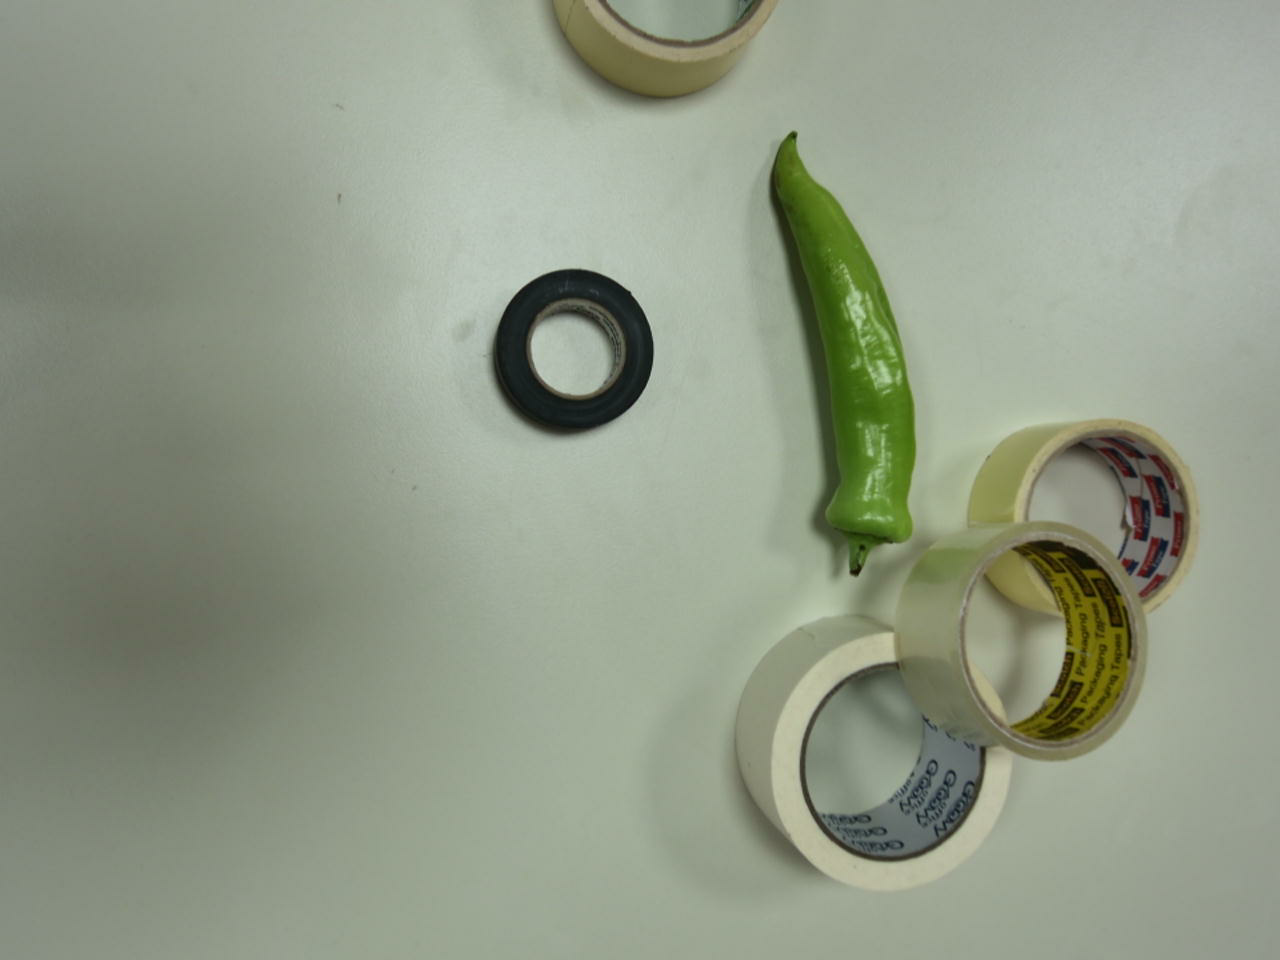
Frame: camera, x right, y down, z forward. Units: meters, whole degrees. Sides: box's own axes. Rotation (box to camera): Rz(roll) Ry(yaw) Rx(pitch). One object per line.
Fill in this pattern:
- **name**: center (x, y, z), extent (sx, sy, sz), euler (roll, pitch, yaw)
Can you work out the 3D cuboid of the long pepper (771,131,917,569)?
- **long pepper**: center (0.094, -0.059, 0.438), extent (0.047, 0.038, 0.197), euler (-8, 92, -11)
